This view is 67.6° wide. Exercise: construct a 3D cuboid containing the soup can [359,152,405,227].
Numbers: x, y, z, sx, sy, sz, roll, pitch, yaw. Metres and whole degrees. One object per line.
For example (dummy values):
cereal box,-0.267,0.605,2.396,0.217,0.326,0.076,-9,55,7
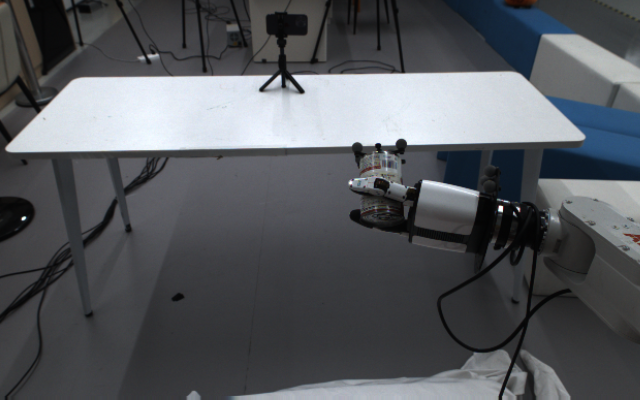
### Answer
soup can,0.095,-0.017,0.747,0.067,0.067,0.101,2,68,0
